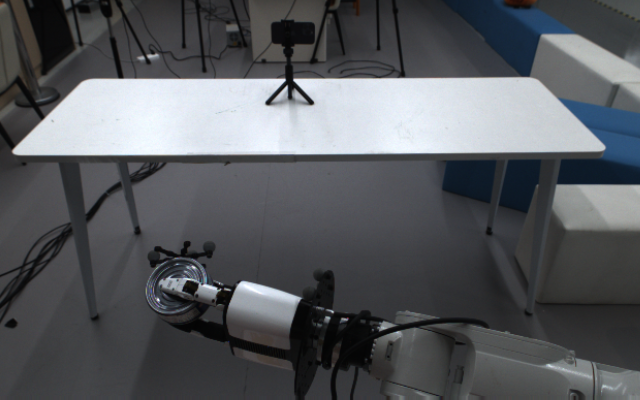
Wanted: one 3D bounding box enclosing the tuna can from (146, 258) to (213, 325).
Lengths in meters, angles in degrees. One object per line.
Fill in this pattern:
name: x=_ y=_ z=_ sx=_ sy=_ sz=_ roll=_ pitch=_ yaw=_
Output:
tuna can: x=-0.184 y=0.127 z=0.647 sx=0.085 sy=0.034 sz=0.085 roll=-3 pitch=59 yaw=5
